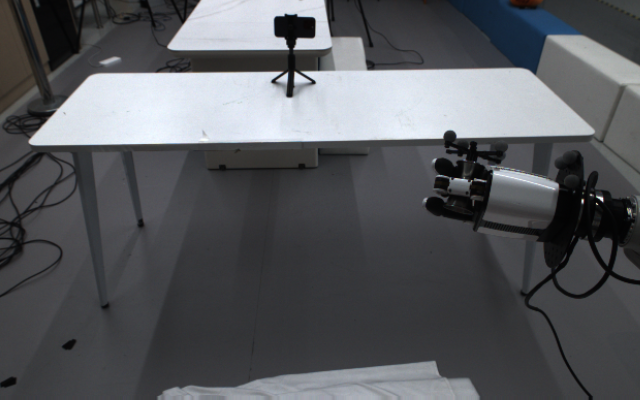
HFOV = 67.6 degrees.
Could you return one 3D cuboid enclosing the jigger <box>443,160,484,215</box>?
[{"bbox_3d":[0.205,-0.018,0.680,0.043,0.071,0.043,16,-7,2],"label":"jigger"}]
